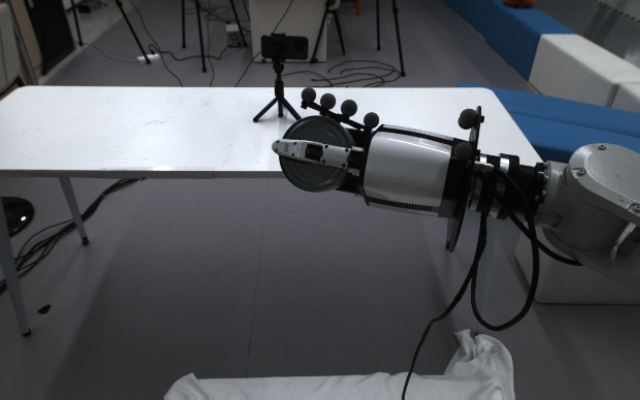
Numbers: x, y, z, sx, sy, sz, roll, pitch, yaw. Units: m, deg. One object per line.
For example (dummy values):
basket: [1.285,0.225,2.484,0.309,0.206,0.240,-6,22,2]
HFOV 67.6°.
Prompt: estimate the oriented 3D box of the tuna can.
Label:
tuna can: [0.001,-0.054,0.554,0.085,0.085,0.034,13,3,15]
